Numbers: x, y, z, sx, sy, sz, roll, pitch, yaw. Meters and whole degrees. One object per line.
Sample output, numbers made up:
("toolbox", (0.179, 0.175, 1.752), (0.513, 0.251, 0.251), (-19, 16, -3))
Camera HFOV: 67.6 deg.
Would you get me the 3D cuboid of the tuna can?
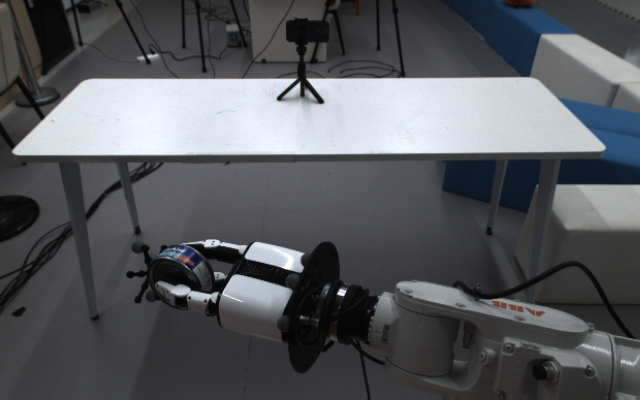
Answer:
("tuna can", (-0.183, 0.102, 0.644), (0.085, 0.085, 0.034), (12, 29, 14))
